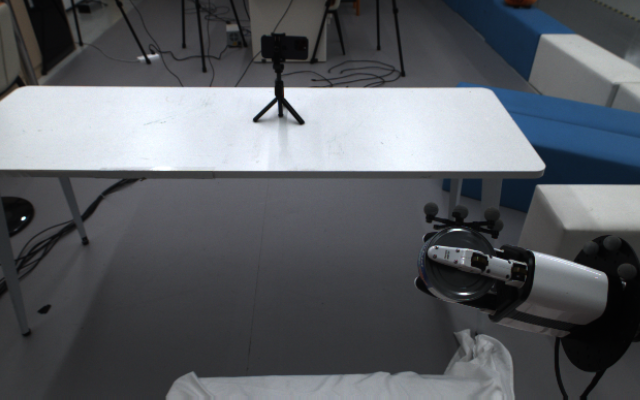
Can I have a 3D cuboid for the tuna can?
[{"bbox_3d":[0.162,0.070,0.564,0.085,0.034,0.085,1,74,-4],"label":"tuna can"}]
